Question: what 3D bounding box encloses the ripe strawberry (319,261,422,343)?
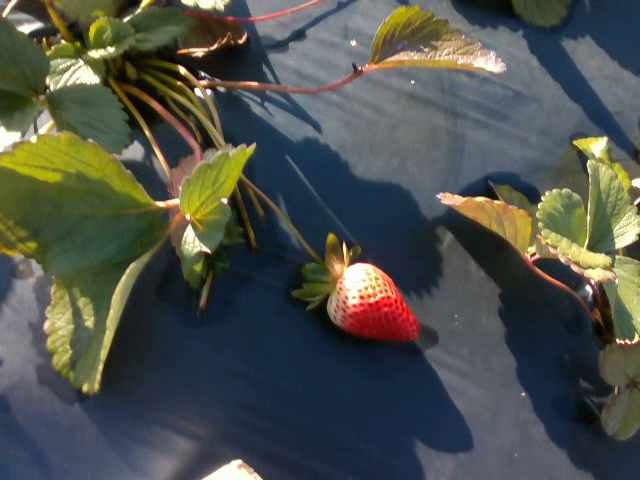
[{"bbox_3d":[0.030,0.035,0.297,0.064,0.045,0.043,30,31,6],"label":"ripe strawberry"}]
